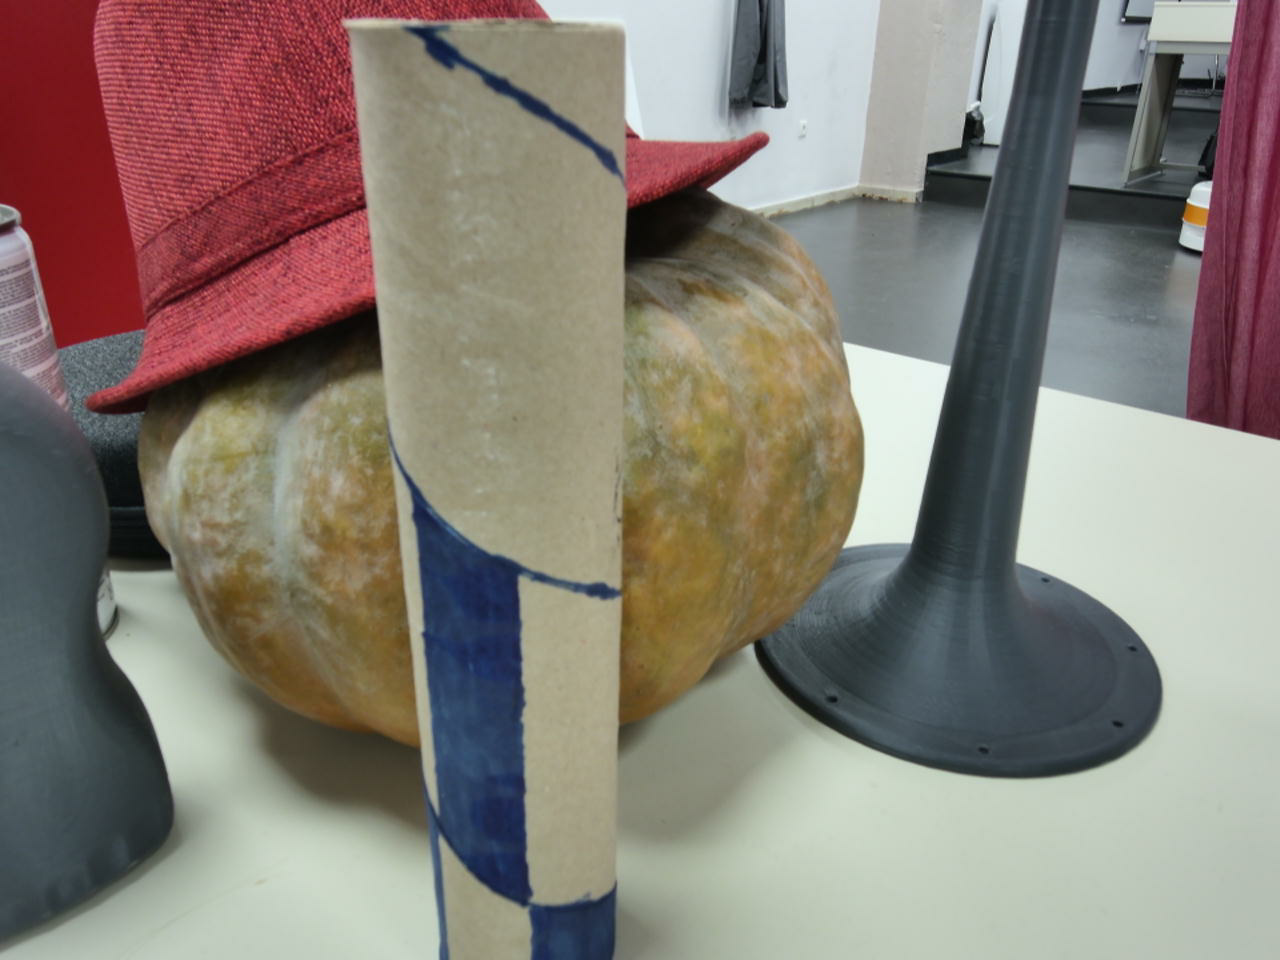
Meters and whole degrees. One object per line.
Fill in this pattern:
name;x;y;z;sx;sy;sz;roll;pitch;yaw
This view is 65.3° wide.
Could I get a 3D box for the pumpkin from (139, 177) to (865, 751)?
pumpkin;-0.046;-0.015;0.360;0.252;0.169;0.251;0;23;0
